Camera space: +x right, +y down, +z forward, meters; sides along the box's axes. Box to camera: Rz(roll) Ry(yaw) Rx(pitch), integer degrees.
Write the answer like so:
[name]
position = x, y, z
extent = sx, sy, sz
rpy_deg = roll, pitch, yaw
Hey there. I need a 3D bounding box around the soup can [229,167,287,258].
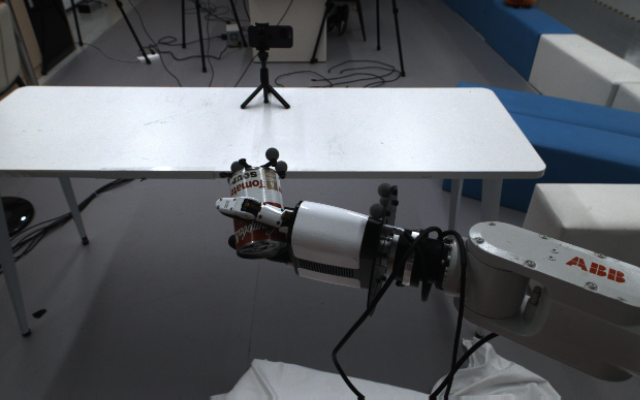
[soup can]
position = -0.077, 0.018, 0.619
extent = 0.067, 0.067, 0.101
rpy_deg = -6, 67, -12
